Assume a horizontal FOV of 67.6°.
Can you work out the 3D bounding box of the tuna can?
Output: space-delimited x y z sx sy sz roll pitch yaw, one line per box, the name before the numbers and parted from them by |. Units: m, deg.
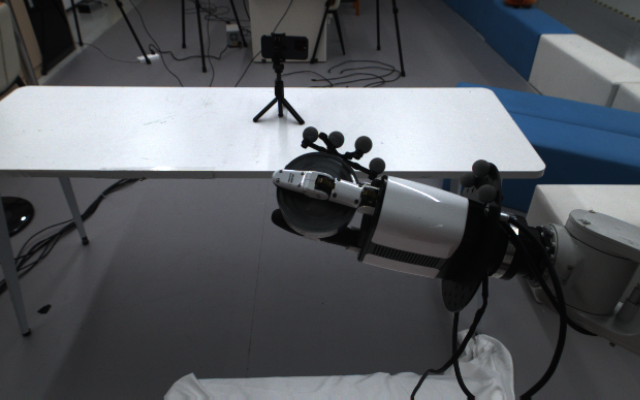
tuna can | 0.000 -0.006 0.505 0.085 0.034 0.085 0 72 0
